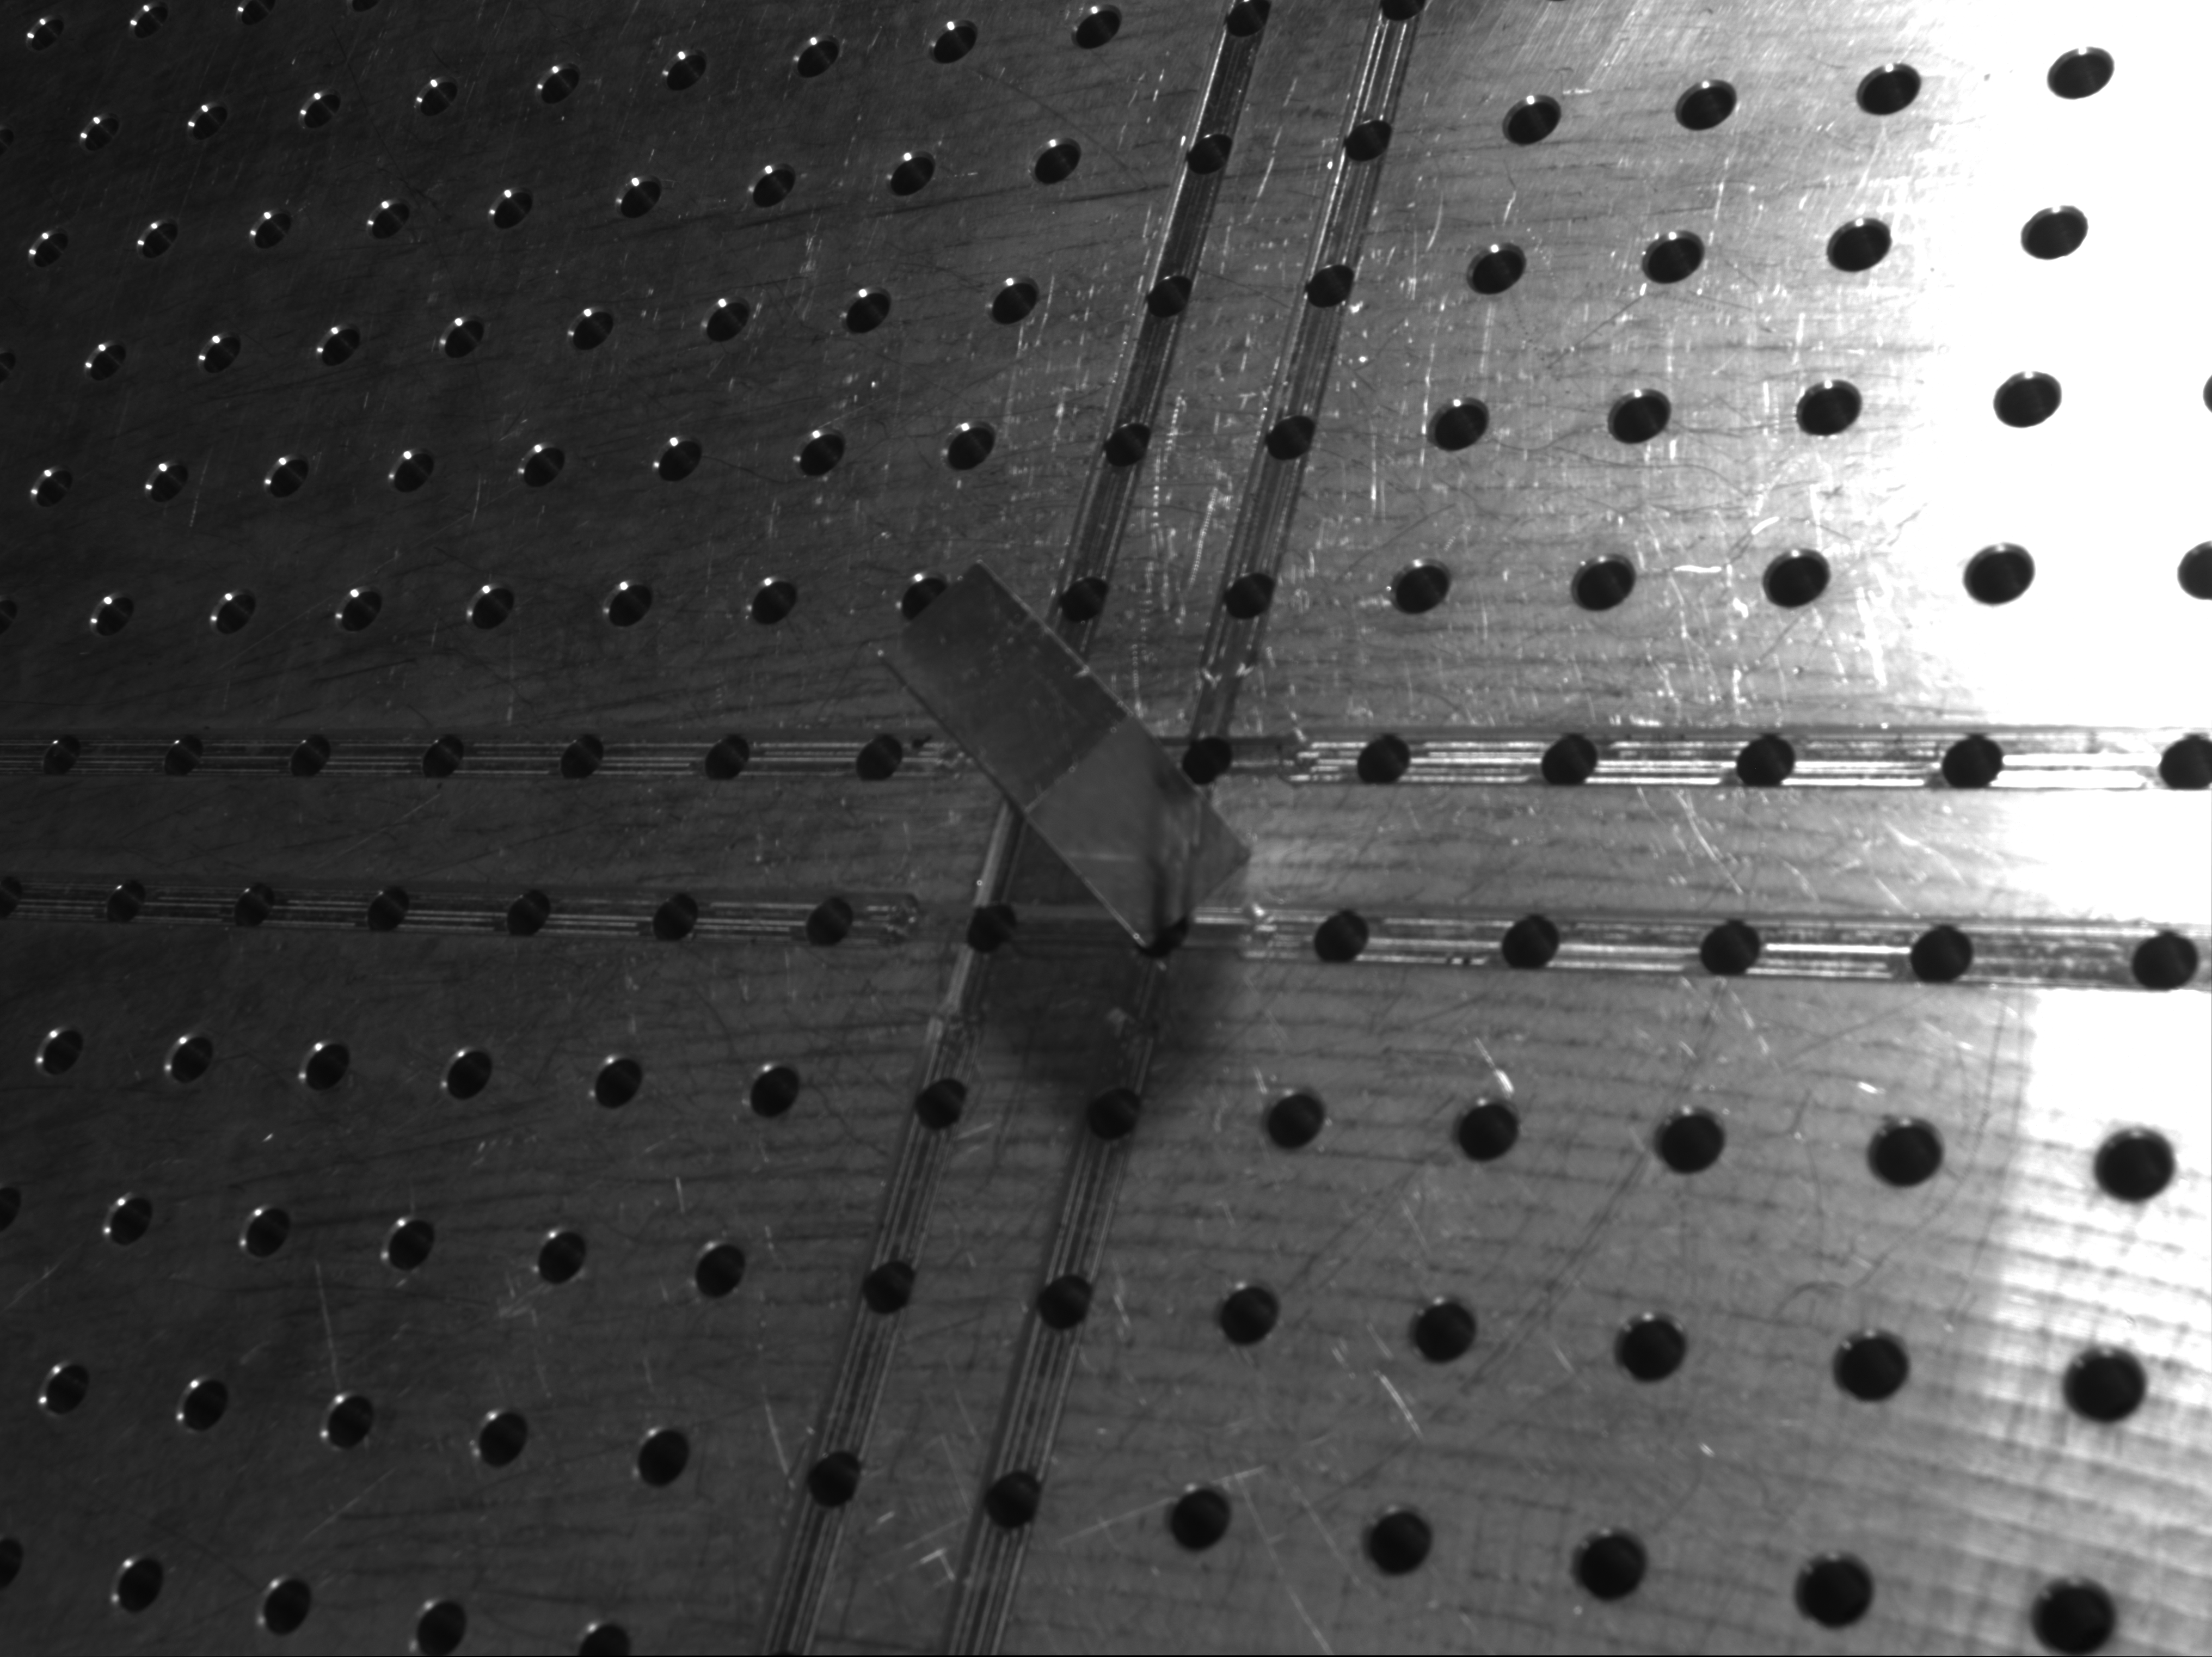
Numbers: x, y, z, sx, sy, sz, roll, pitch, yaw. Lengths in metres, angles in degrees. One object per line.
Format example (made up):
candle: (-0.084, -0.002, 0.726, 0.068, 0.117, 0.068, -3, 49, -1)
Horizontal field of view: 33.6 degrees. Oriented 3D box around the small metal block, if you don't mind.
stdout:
small metal block: (-0.005, -0.013, 0.642, 0.025, 0.050, 0.050, -42, 51, -1)
